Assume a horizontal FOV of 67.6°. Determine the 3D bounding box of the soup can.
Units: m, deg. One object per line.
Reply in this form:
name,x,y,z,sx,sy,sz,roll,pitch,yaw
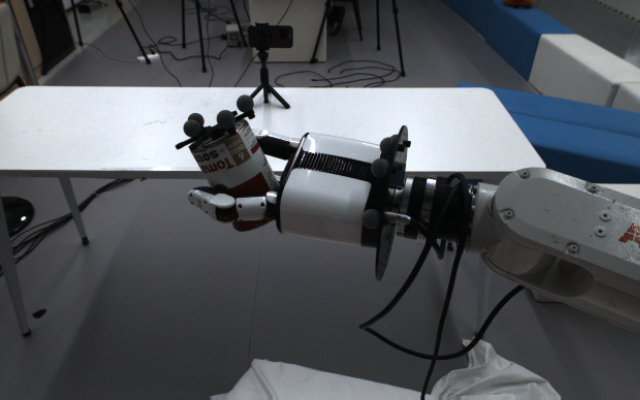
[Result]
soup can,-0.083,-0.027,0.520,0.067,0.101,0.067,-22,24,10
